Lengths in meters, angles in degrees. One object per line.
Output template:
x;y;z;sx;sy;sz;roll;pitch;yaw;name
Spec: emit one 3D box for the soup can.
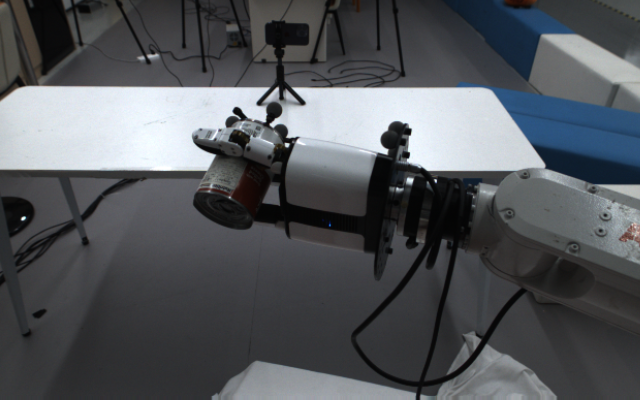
-0.084;-0.030;0.522;0.067;0.067;0.101;12;59;14;soup can
